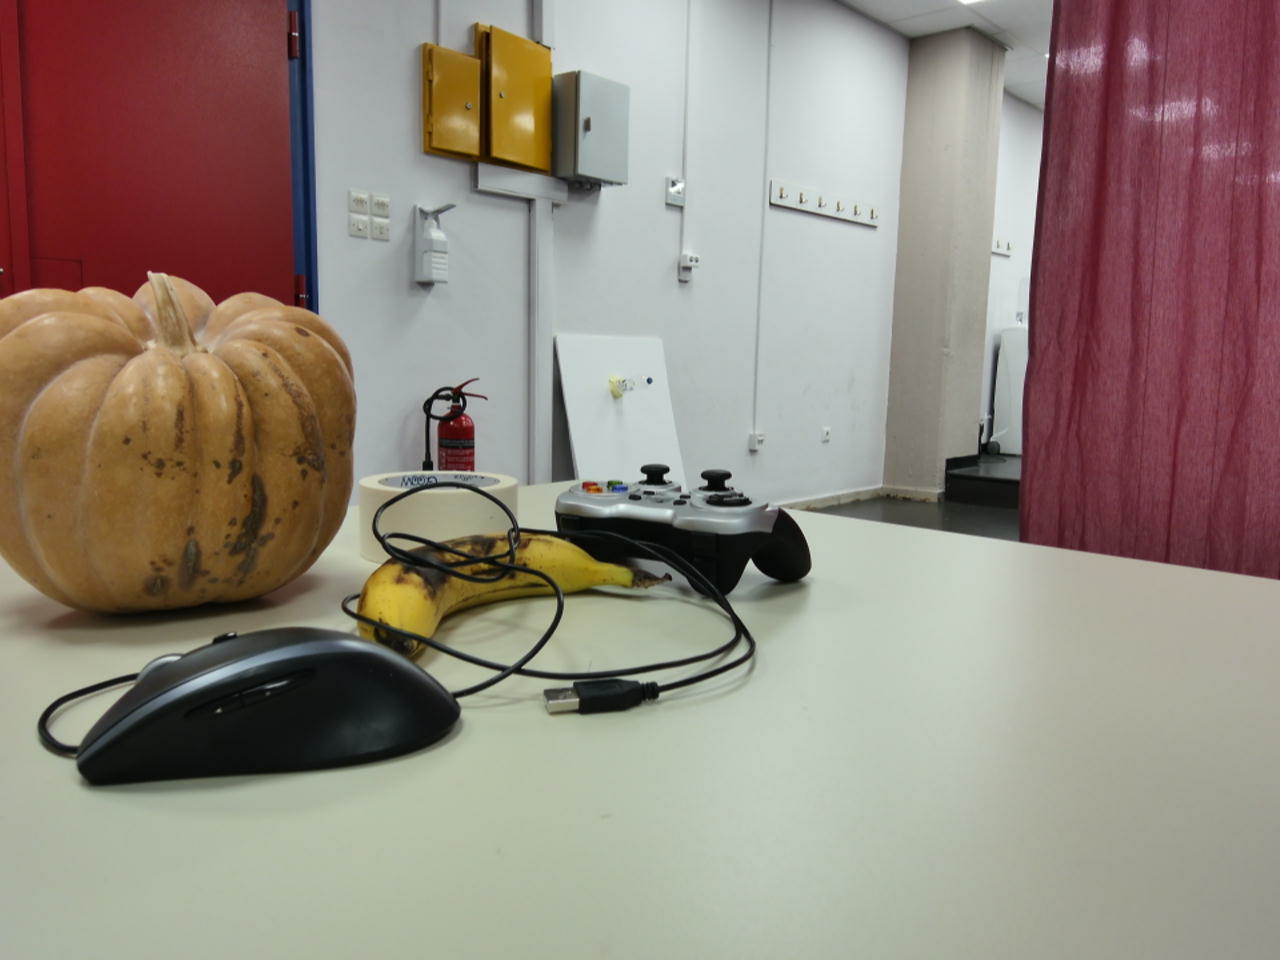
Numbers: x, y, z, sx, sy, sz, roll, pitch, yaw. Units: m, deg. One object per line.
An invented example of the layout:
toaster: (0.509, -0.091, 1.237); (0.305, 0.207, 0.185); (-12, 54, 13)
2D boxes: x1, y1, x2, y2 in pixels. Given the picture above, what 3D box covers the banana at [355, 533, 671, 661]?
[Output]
banana: (-0.081, 0.054, 0.523); (0.094, 0.039, 0.187); (4, 8, 39)
